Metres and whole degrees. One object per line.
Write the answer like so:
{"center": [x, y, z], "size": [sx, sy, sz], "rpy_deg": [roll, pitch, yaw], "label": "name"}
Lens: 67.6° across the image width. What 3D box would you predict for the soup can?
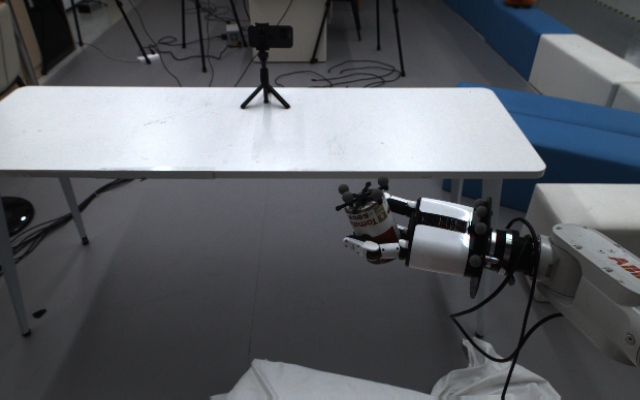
{"center": [0.088, 0.042, 0.768], "size": [0.067, 0.101, 0.067], "rpy_deg": [-22, 24, 10], "label": "soup can"}
